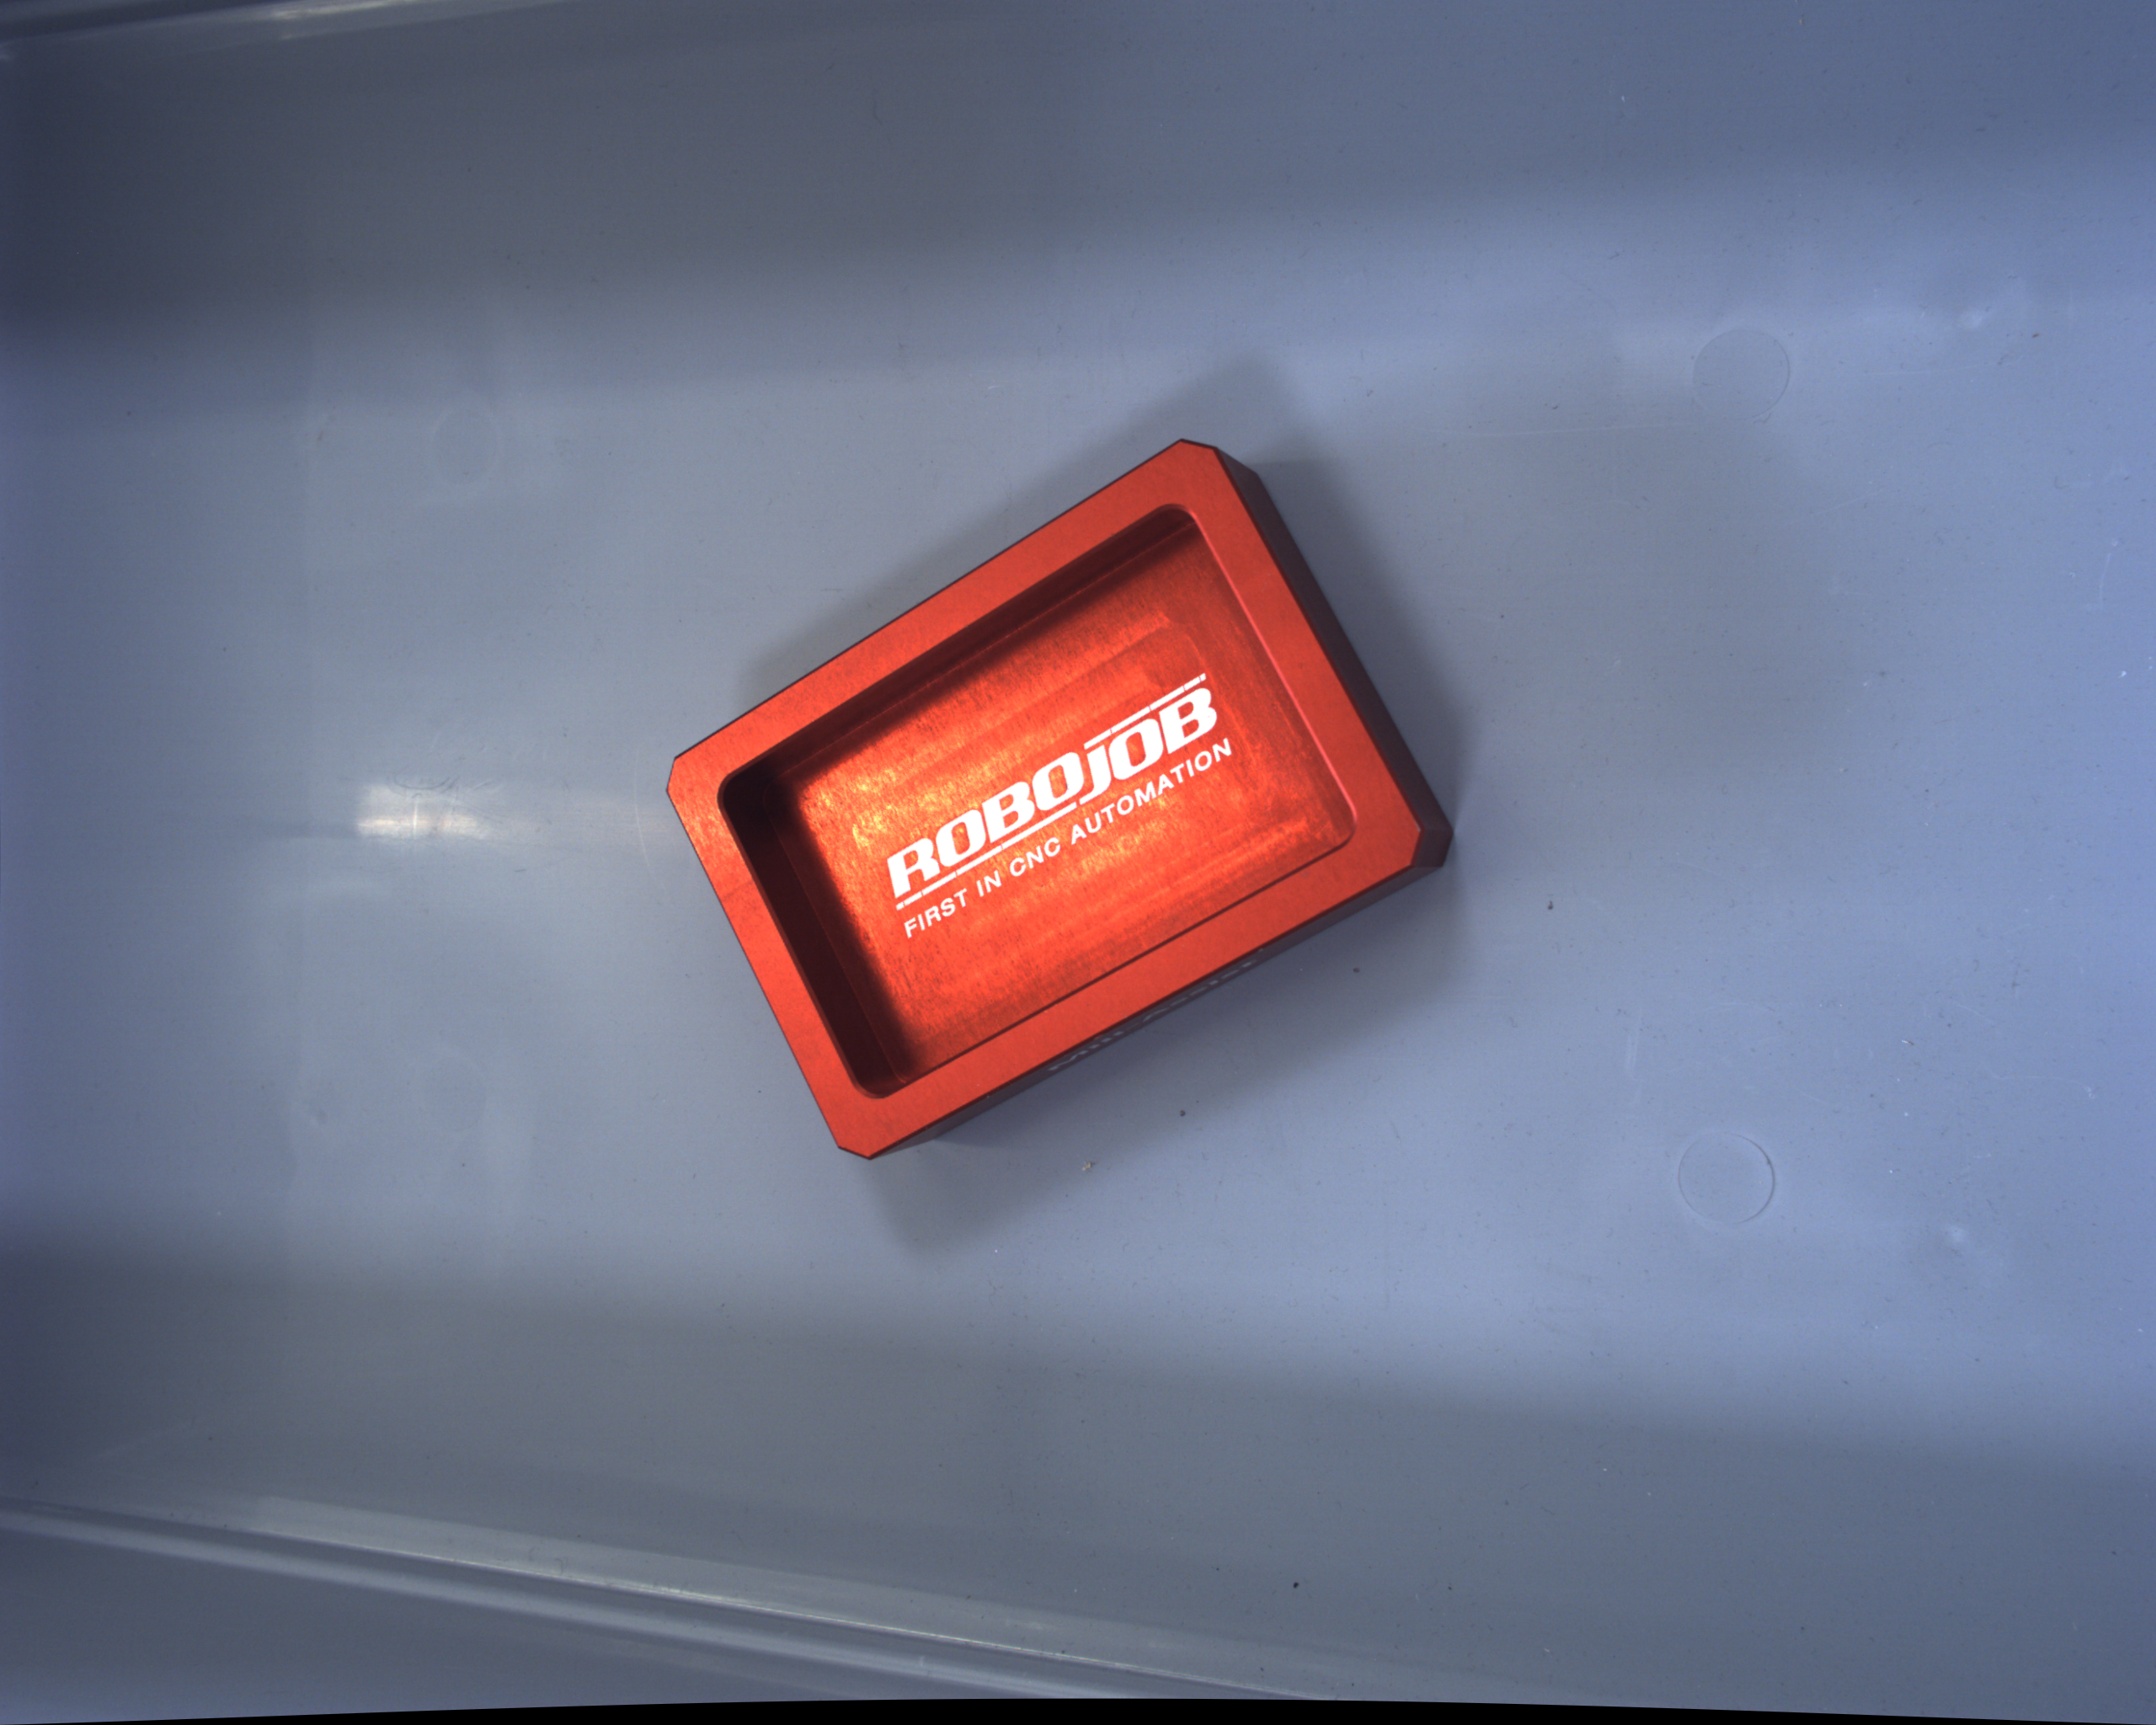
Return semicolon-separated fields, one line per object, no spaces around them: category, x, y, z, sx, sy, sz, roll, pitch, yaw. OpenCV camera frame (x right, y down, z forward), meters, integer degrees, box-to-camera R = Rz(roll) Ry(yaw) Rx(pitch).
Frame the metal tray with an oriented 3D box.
metal tray;-0.006;-0.010;0.407;0.130;0.030;0.090;-30;81;17
